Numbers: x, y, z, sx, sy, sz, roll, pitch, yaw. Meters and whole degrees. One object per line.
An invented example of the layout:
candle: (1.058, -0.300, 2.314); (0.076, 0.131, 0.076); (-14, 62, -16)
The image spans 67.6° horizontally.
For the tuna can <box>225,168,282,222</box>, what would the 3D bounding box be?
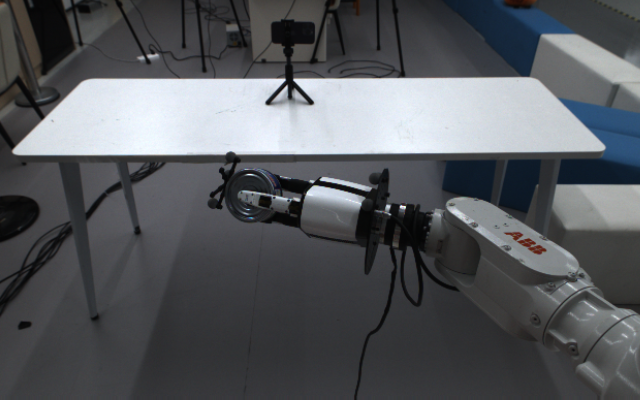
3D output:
tuna can: (-0.103, -0.008, 0.752); (0.085, 0.085, 0.034); (12, 5, 14)
